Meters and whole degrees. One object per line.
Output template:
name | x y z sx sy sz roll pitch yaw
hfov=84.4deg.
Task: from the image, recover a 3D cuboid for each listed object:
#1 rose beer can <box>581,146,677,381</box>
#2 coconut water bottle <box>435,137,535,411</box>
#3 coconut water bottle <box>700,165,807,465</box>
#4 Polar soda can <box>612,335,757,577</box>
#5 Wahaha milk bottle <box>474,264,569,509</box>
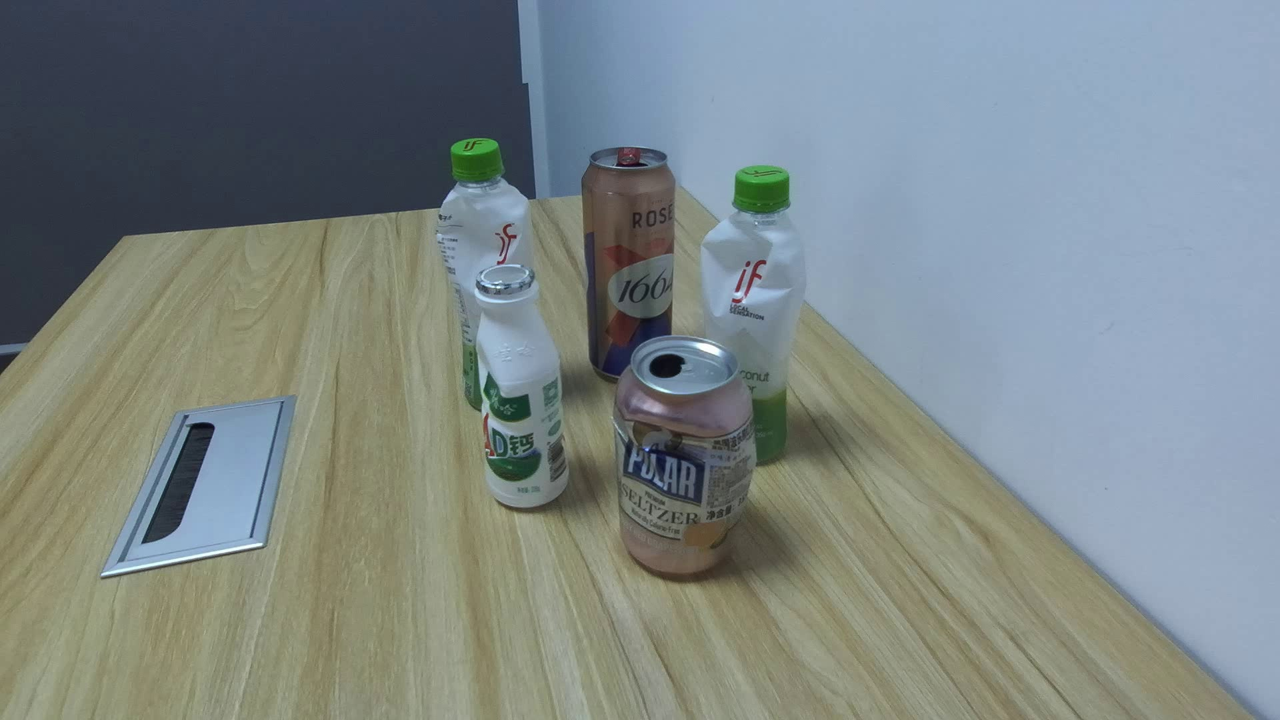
rose beer can | -0.008 -0.067 0.536 0.068 0.169 0.068 1 29 0
coconut water bottle | -0.099 -0.053 0.485 0.069 0.187 0.069 0 26 0
coconut water bottle | 0.069 -0.024 0.439 0.067 0.187 0.067 -1 31 1
Polar soda can | 0.020 0.052 0.380 0.067 0.122 0.074 -11 35 -17
Wahaha milk bottle | -0.072 0.018 0.413 0.056 0.148 0.056 0 33 0
